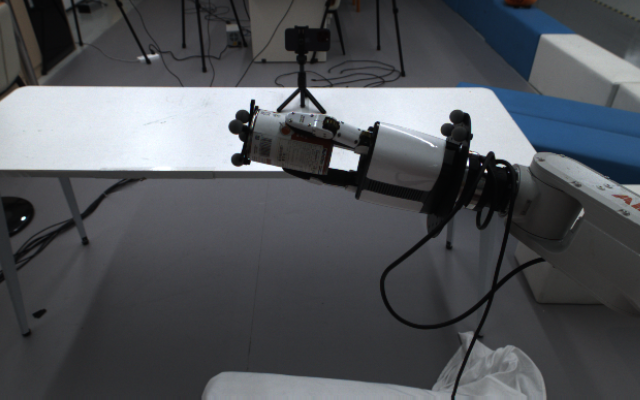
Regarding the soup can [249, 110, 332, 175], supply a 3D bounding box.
[{"bbox_3d":[-0.033,-0.072,0.610,0.101,0.067,0.067,12,35,-1],"label":"soup can"}]
